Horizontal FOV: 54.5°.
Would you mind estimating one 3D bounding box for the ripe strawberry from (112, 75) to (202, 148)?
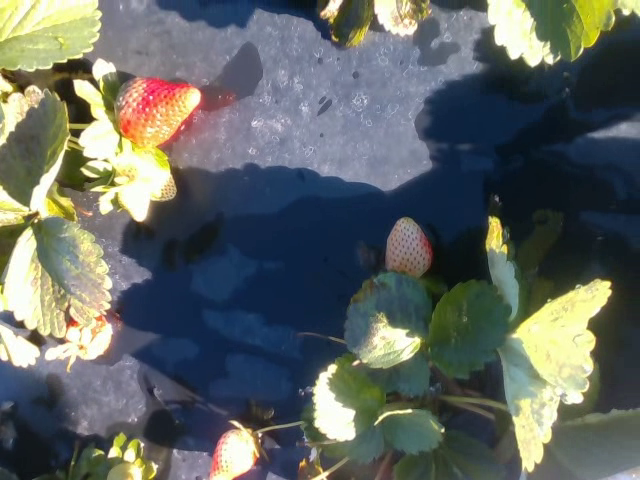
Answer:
[{"bbox_3d":[-0.095,-0.082,0.374,0.064,0.052,0.050,-16,-45,24],"label":"ripe strawberry"}]
